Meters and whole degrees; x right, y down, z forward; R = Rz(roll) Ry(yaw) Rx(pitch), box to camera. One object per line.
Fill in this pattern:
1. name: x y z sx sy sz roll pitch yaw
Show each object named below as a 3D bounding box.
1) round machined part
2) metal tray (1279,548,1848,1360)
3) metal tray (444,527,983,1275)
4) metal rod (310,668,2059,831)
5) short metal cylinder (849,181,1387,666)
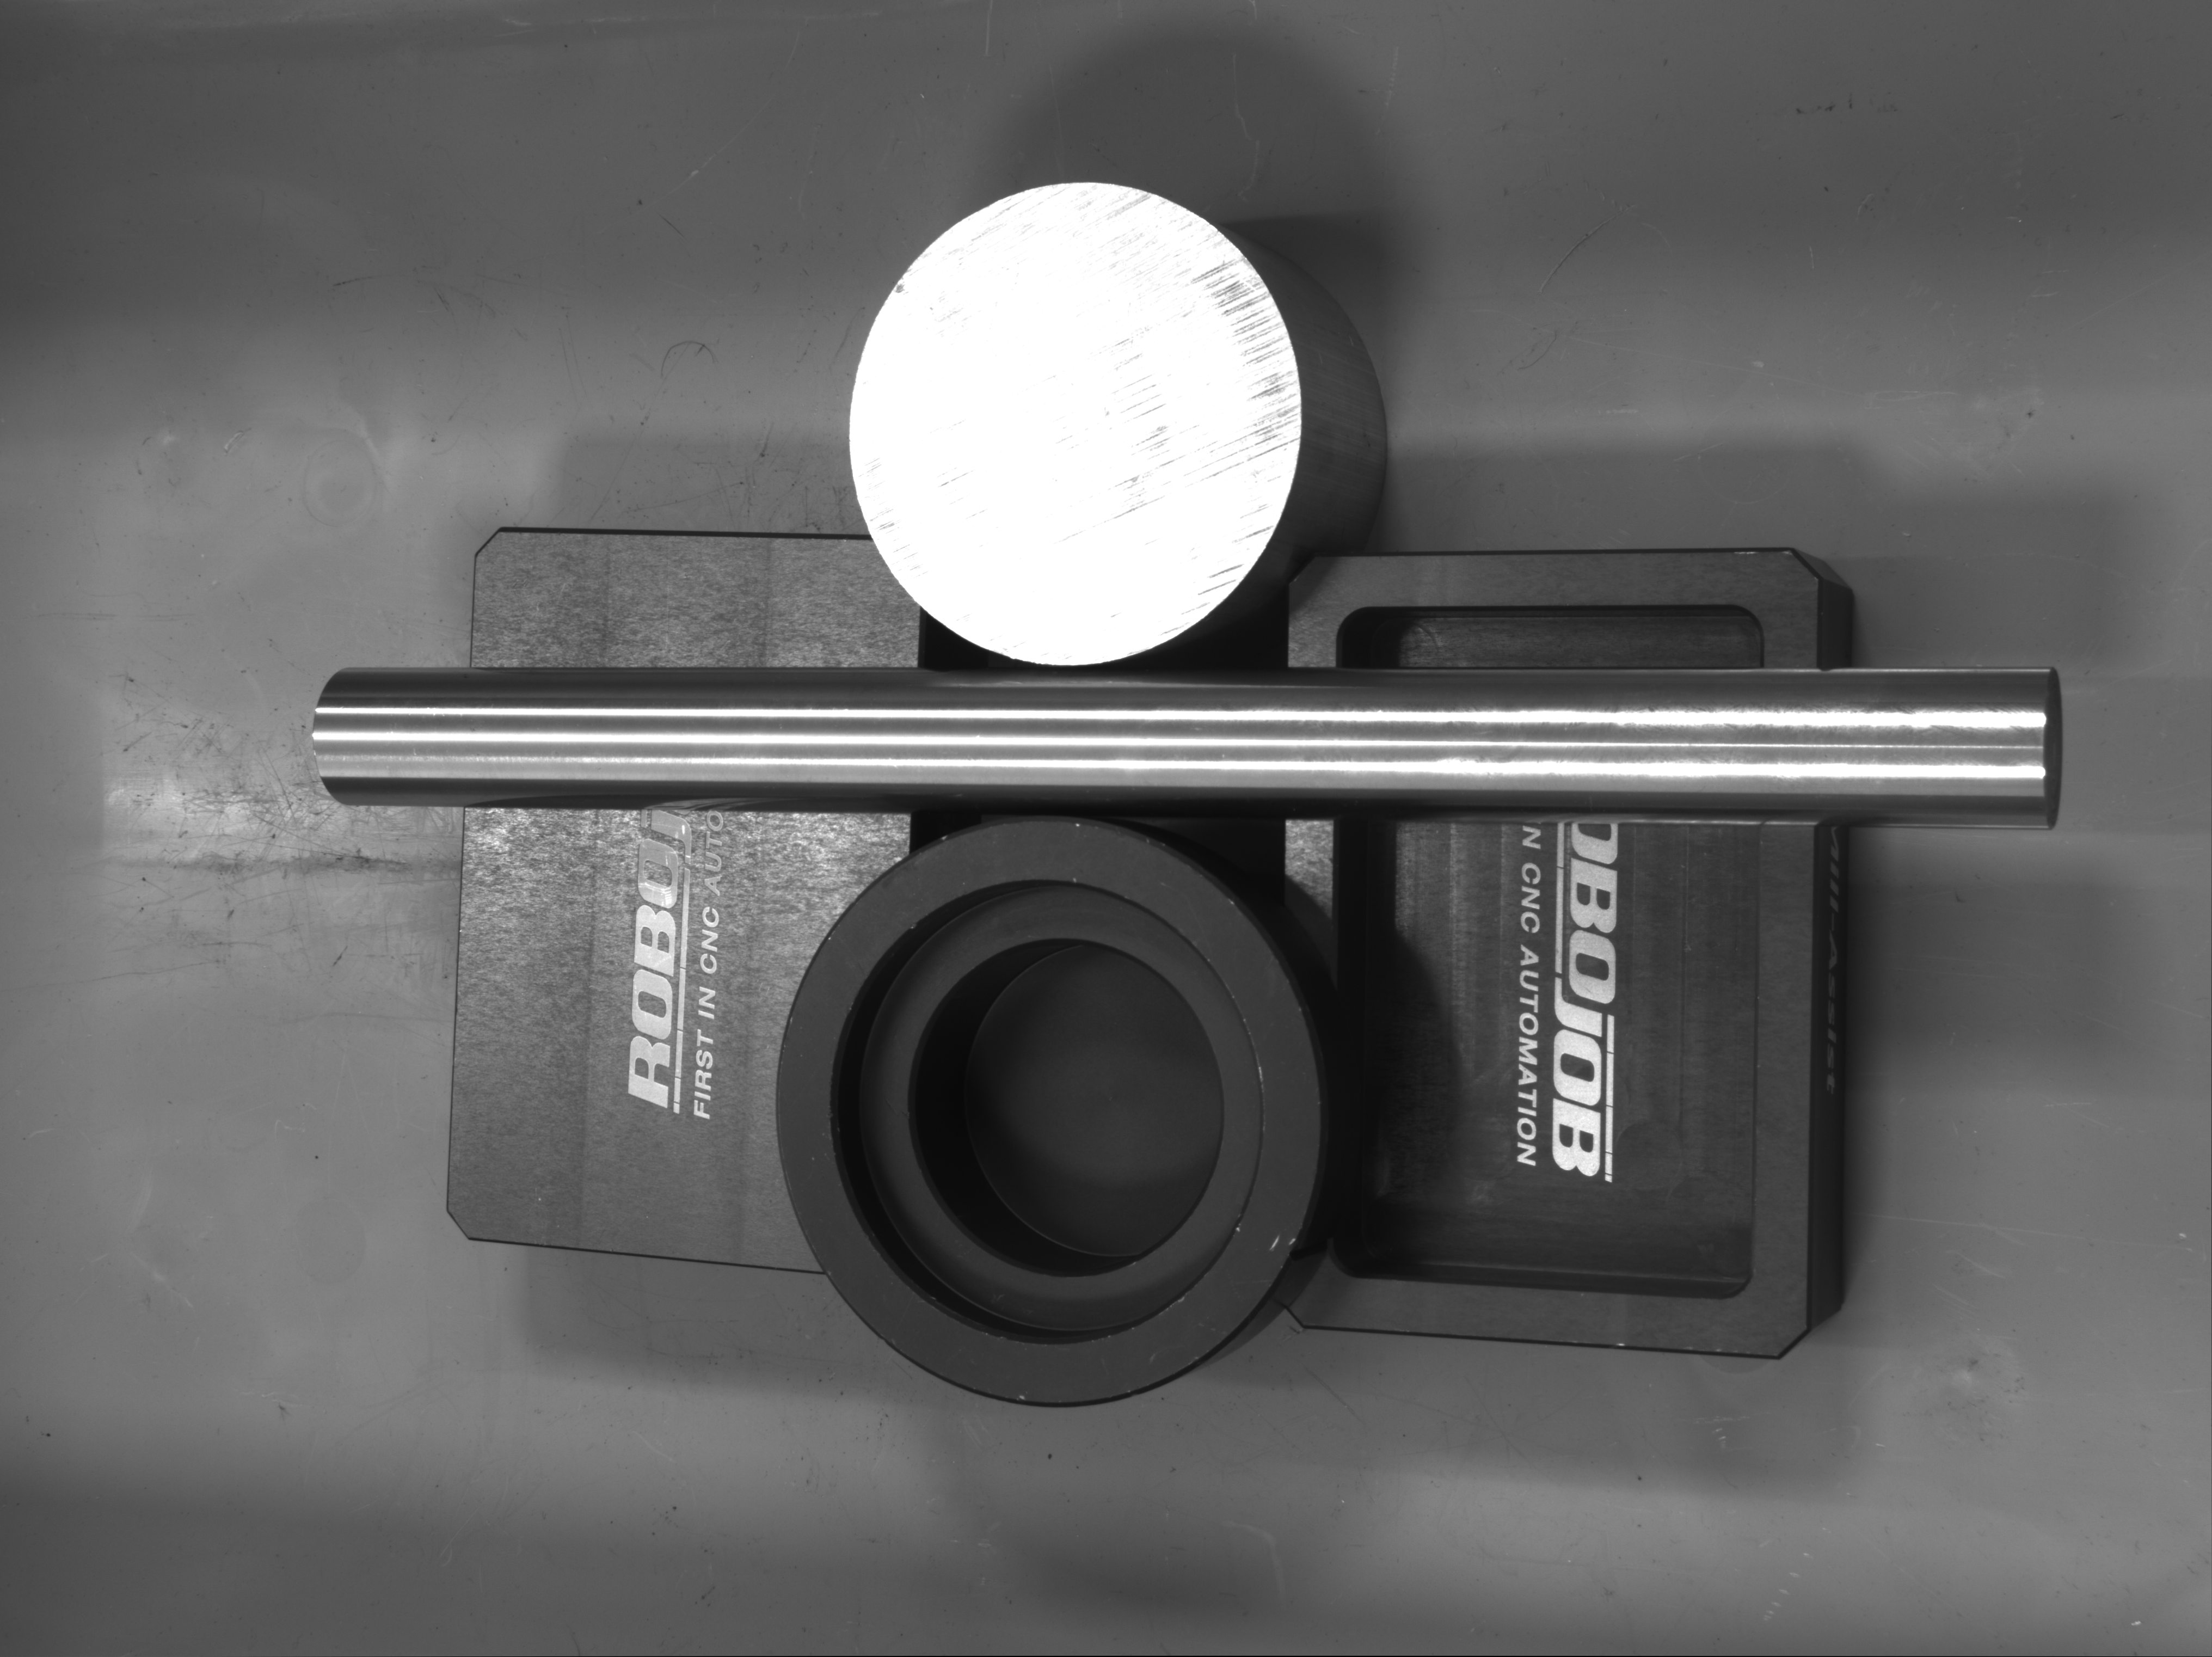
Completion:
1. round machined part: -0.003 0.047 0.628 0.098 0.042 0.098 0 90 20
2. metal tray: 0.077 0.020 0.615 0.090 0.030 0.130 1 90 20
3. metal tray: -0.071 0.012 0.667 0.090 0.030 0.130 3 91 20
4. metal rod: 0.004 -0.014 0.611 0.299 0.025 0.025 1 90 20
5. short metal cylinder: 0.003 -0.067 0.631 0.080 0.050 0.080 0 90 20
